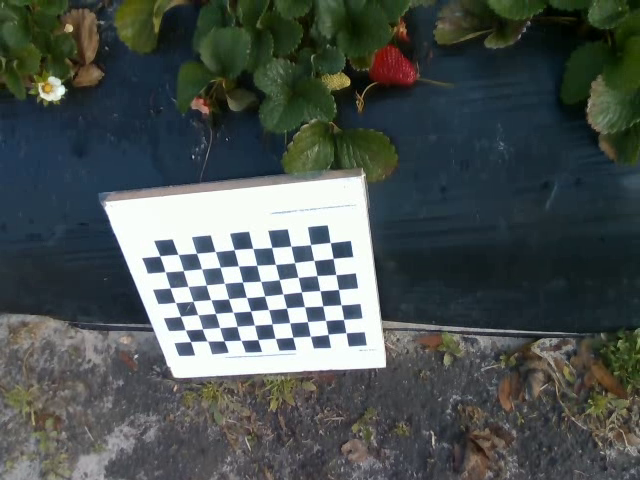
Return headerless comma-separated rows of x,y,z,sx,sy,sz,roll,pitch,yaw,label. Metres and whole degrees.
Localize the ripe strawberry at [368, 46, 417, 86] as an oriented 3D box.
0.068,-0.163,0.566,0.064,0.051,0.043,23,31,-8,ripe strawberry
